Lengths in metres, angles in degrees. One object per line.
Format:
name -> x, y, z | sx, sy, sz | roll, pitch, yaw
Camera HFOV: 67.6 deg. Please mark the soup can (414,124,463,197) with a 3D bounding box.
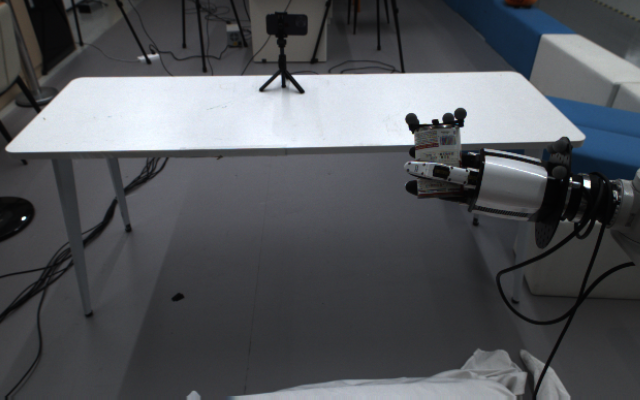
soup can -> 0.176, -0.055, 0.711 | 0.067, 0.101, 0.067 | -3, -1, 0
